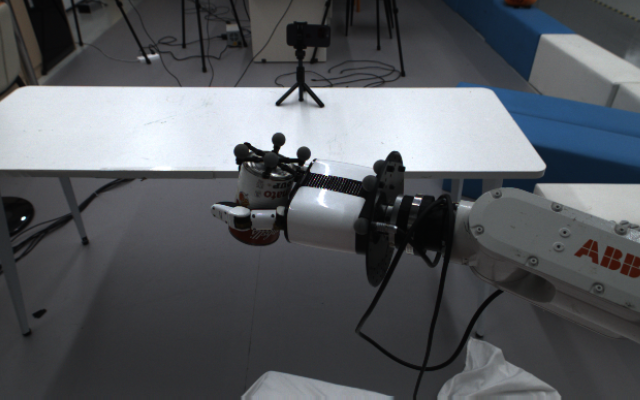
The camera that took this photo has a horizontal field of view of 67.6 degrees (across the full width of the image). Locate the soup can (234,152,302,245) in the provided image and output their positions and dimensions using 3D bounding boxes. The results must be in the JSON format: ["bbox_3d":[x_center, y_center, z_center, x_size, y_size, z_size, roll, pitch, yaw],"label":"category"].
[{"bbox_3d":[-0.072,-0.002,0.606,0.067,0.101,0.067,13,30,-8],"label":"soup can"}]
